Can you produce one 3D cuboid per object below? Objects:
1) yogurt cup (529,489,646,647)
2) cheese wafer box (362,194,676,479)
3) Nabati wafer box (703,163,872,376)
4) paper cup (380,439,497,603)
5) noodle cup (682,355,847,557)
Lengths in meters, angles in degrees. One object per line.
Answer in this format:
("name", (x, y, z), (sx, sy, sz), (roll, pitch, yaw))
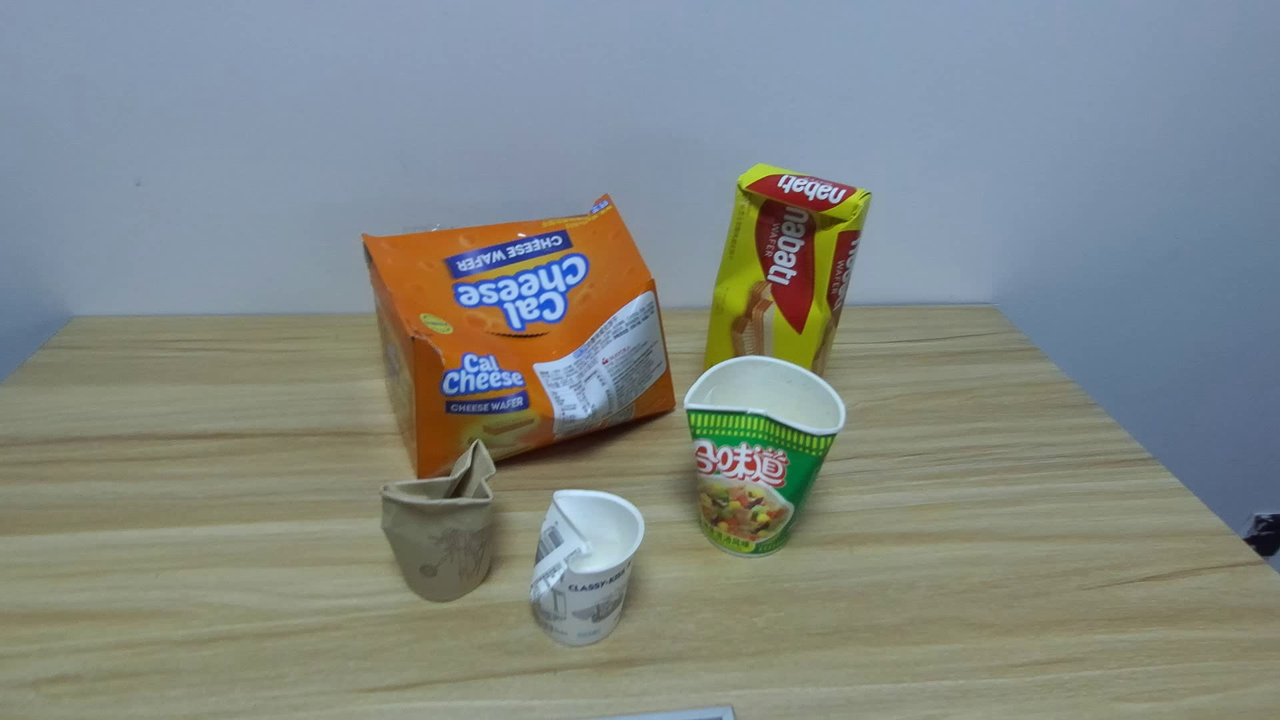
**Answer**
("yogurt cup", (-0.032, 0.125, 0.421), (0.067, 0.070, 0.067), (2, 31, -1))
("cheese wafer box", (-0.087, -0.023, 0.570), (0.220, 0.145, 0.190), (-13, 37, -24))
("Nabati wafer box", (0.109, -0.042, 0.561), (0.096, 0.203, 0.042), (23, 36, 25))
("paper cup", (-0.121, 0.099, 0.440), (0.066, 0.083, 0.058), (0, 32, -5))
("noodle cup", (0.082, 0.067, 0.474), (0.093, 0.109, 0.087), (24, 40, 29))
